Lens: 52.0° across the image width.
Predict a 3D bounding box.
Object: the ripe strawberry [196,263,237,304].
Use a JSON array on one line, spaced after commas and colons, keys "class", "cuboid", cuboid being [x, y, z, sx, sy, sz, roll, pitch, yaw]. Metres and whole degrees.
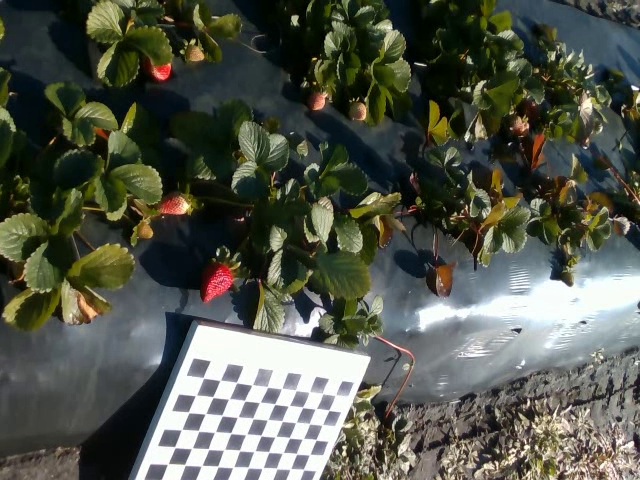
[{"class": "ripe strawberry", "cuboid": [-0.131, 0.053, 0.765, 0.058, 0.066, 0.062, -16, 33, 6]}]
